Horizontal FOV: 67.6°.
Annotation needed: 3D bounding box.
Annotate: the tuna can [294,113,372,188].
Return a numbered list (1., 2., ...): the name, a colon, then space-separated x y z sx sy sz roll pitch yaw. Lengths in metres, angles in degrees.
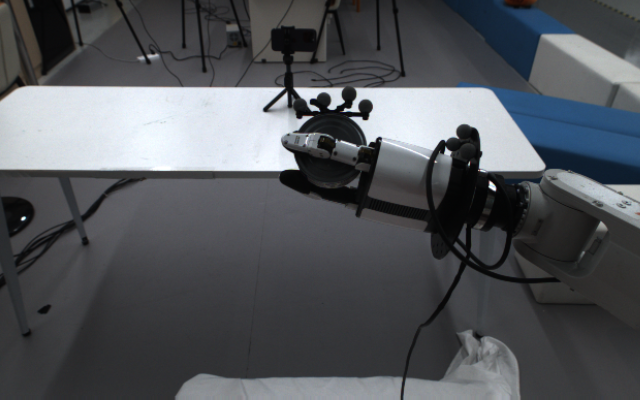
1. tuna can: 0.013 -0.059 0.577 0.085 0.034 0.085 -1 76 4
